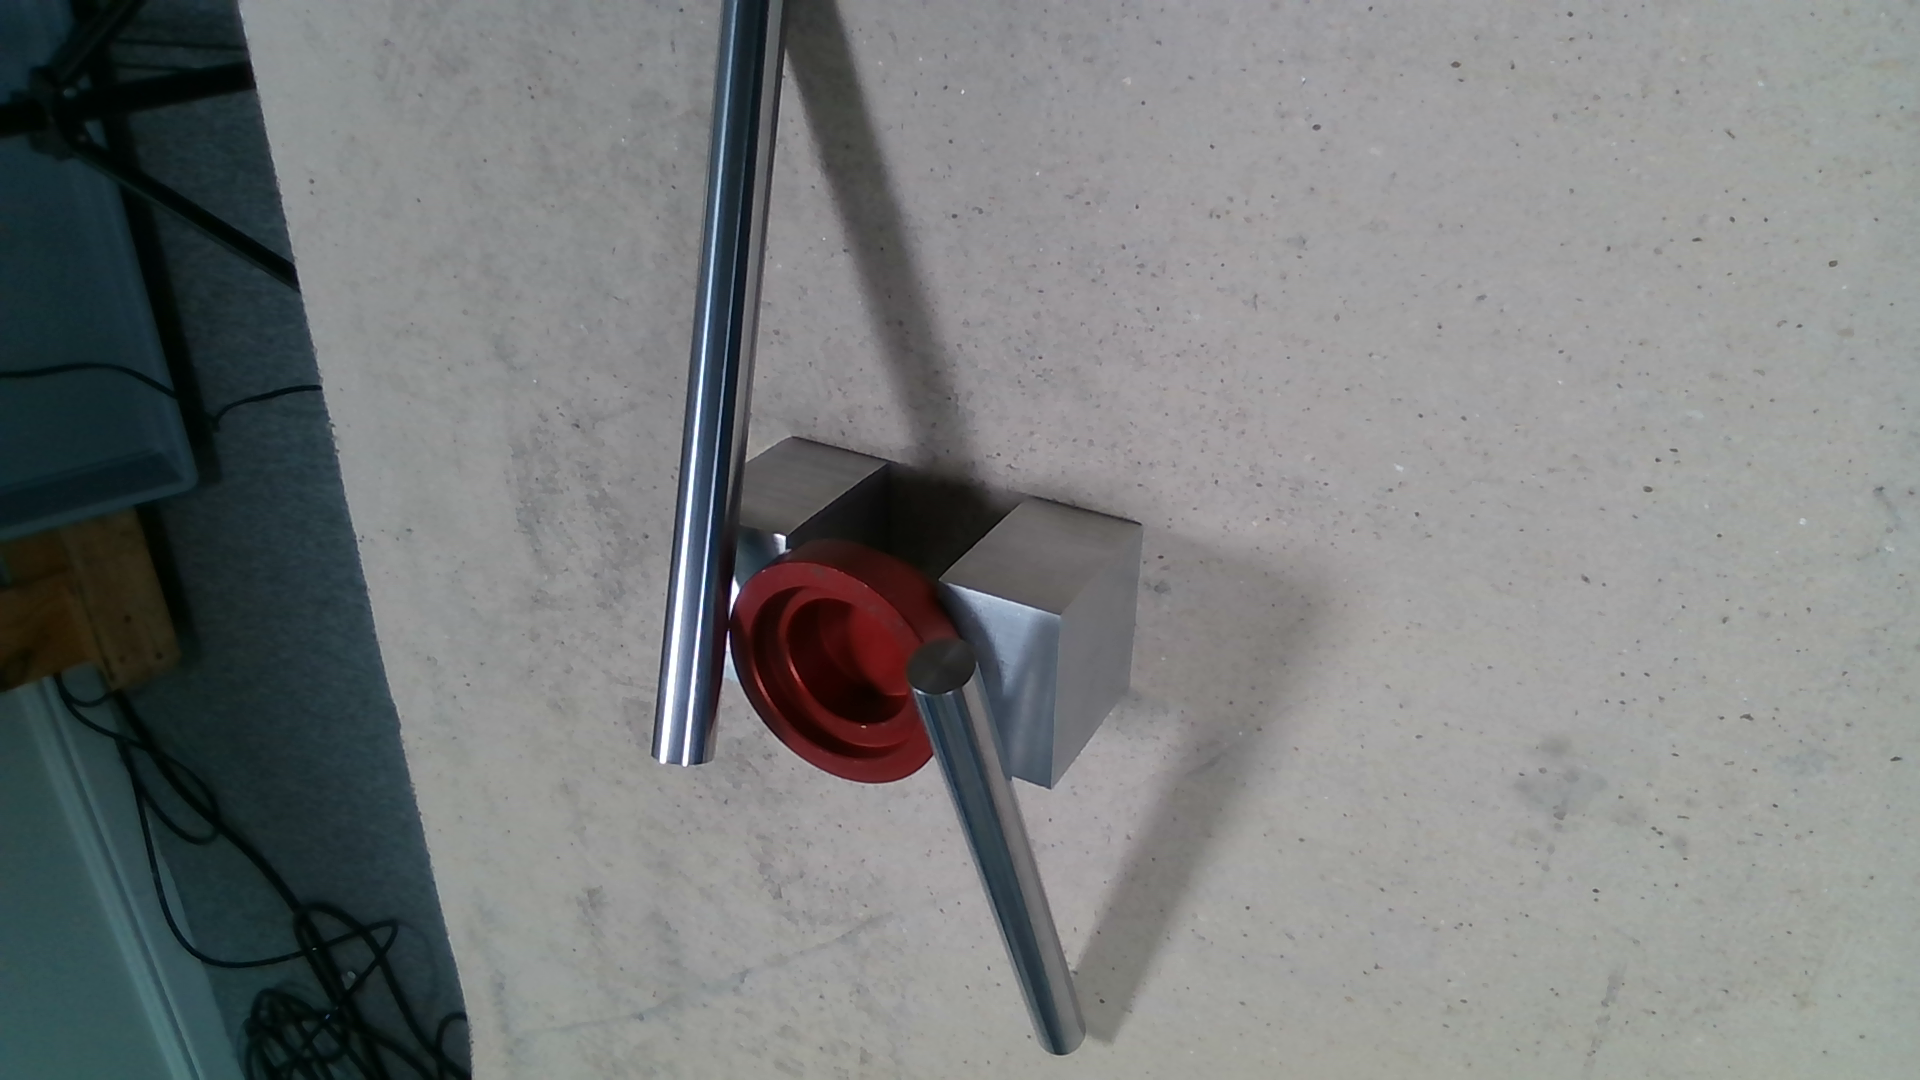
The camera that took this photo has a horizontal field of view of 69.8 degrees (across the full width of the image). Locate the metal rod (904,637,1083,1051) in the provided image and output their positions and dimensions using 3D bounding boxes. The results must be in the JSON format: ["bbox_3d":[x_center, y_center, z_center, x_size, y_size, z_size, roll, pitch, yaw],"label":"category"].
[{"bbox_3d":[0.022,0.142,0.575,0.025,0.025,0.301,14,143,25],"label":"metal rod"}]

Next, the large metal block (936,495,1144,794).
[{"bbox_3d":[0.032,0.039,0.546,0.050,0.080,0.080,15,122,24],"label":"large metal block"}]

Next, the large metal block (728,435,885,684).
[{"bbox_3d":[-0.074,0.010,0.596,0.050,0.080,0.080,15,122,24],"label":"large metal block"}]

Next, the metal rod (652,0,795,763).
[{"bbox_3d":[-0.091,-0.063,0.530,0.025,0.025,0.300,11,97,27],"label":"metal rod"}]

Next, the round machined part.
[{"bbox_3d":[-0.039,0.043,0.541,0.098,0.042,0.098,14,122,25],"label":"round machined part"}]
